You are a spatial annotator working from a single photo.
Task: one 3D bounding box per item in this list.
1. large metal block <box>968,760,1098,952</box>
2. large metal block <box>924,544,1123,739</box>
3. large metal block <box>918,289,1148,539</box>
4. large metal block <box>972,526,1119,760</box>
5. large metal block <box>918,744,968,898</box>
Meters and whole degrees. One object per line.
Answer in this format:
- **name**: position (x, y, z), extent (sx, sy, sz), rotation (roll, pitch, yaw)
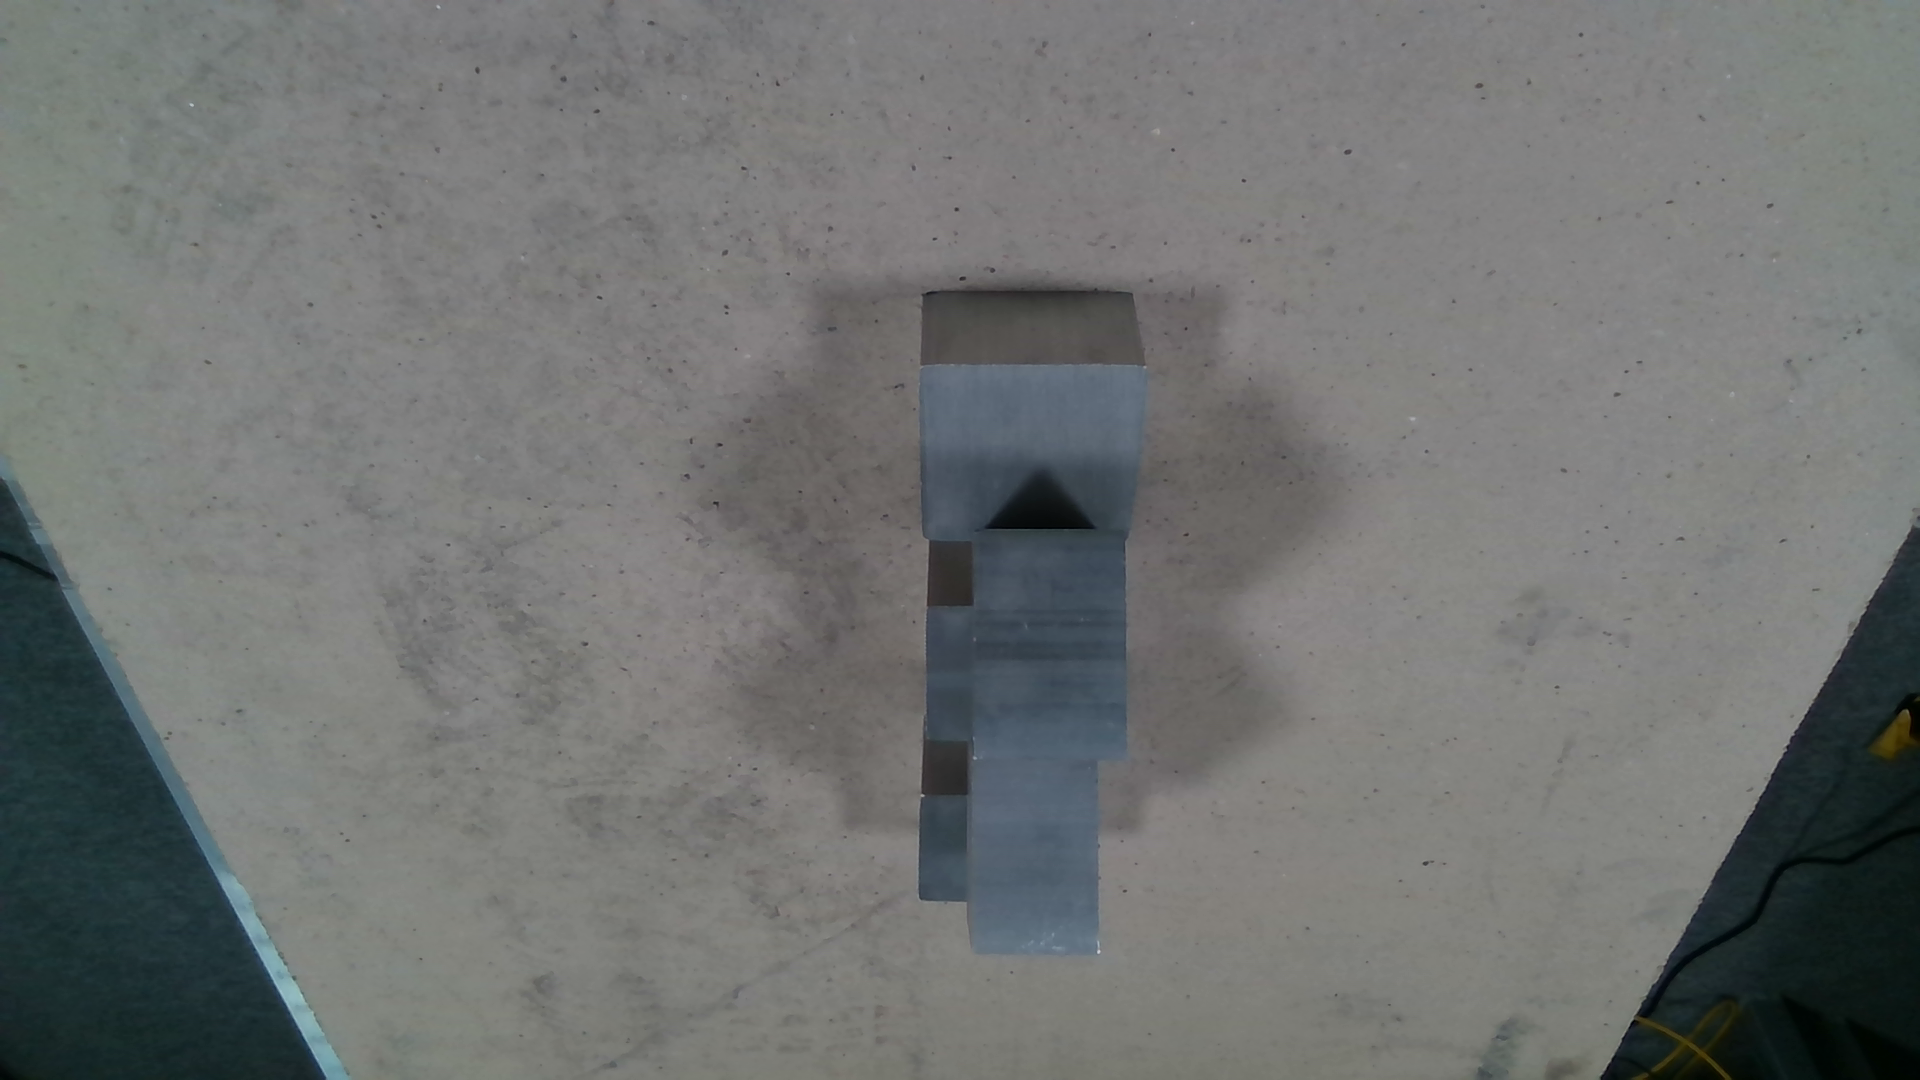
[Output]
- **large metal block**: position (0.029, 0.127, 0.588), extent (0.050, 0.080, 0.080), rotation (1, 85, -1)
- **large metal block**: position (0.025, 0.041, 0.598), extent (0.080, 0.050, 0.080), rotation (1, 130, 0)
- **large metal block**: position (0.025, -0.047, 0.524), extent (0.080, 0.050, 0.080), rotation (0, 130, 0)
- **large metal block**: position (0.030, 0.038, 0.511), extent (0.050, 0.080, 0.080), rotation (0, 175, 1)
- **large metal block**: position (0.020, 0.131, 0.673), extent (0.080, 0.050, 0.080), rotation (1, 130, -1)
